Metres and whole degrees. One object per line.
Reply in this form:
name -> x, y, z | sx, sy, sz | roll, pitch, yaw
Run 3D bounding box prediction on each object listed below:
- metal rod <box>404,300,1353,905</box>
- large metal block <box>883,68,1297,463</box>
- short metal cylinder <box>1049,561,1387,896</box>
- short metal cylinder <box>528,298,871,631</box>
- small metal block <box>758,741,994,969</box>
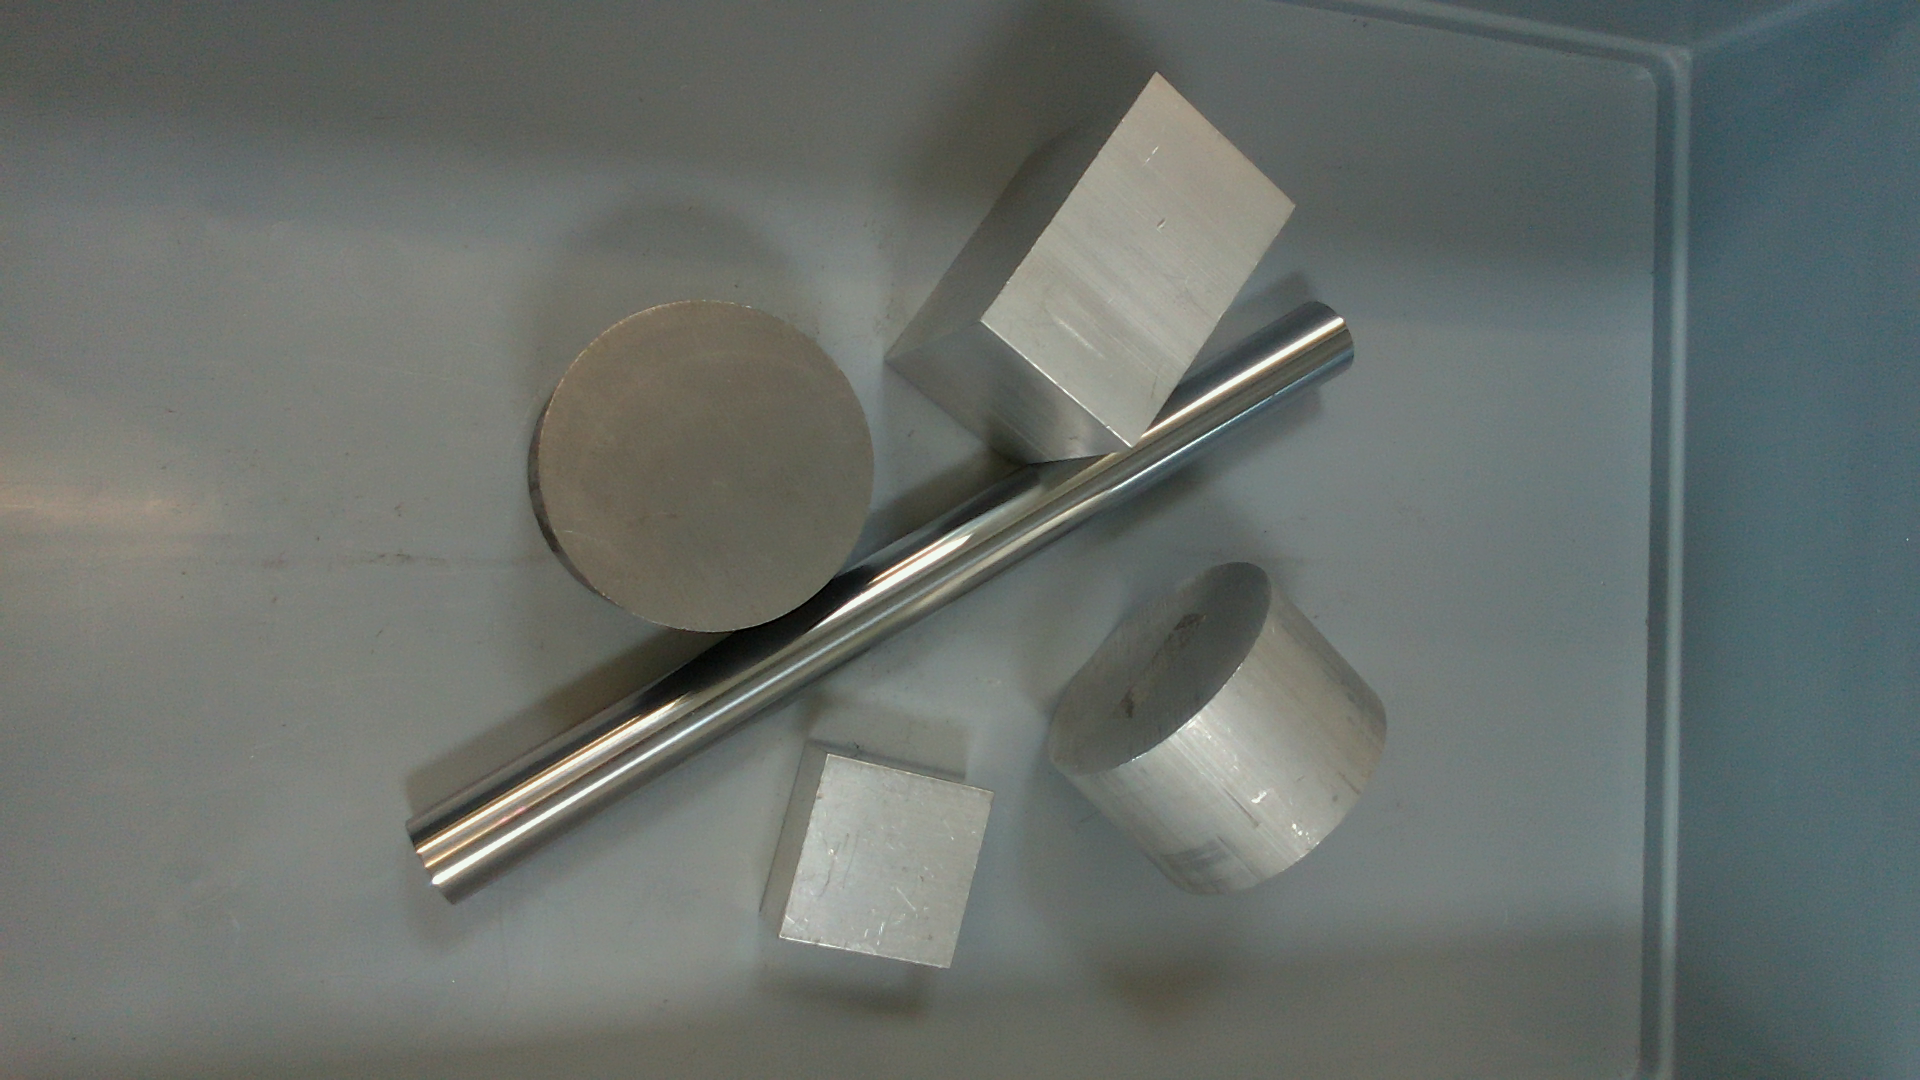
metal rod -> -0.009, 0.008, 0.389 | 0.301, 0.025, 0.025 | -30, 100, -17
large metal block -> 0.032, -0.069, 0.375 | 0.050, 0.080, 0.080 | 38, 78, -16
short metal cylinder -> 0.072, 0.052, 0.390 | 0.050, 0.080, 0.080 | 45, 76, -15
short metal cylinder -> -0.068, -0.018, 0.354 | 0.080, 0.050, 0.080 | 0, 90, -20
small metal block -> -0.024, 0.087, 0.384 | 0.050, 0.025, 0.050 | 16, 85, -19
